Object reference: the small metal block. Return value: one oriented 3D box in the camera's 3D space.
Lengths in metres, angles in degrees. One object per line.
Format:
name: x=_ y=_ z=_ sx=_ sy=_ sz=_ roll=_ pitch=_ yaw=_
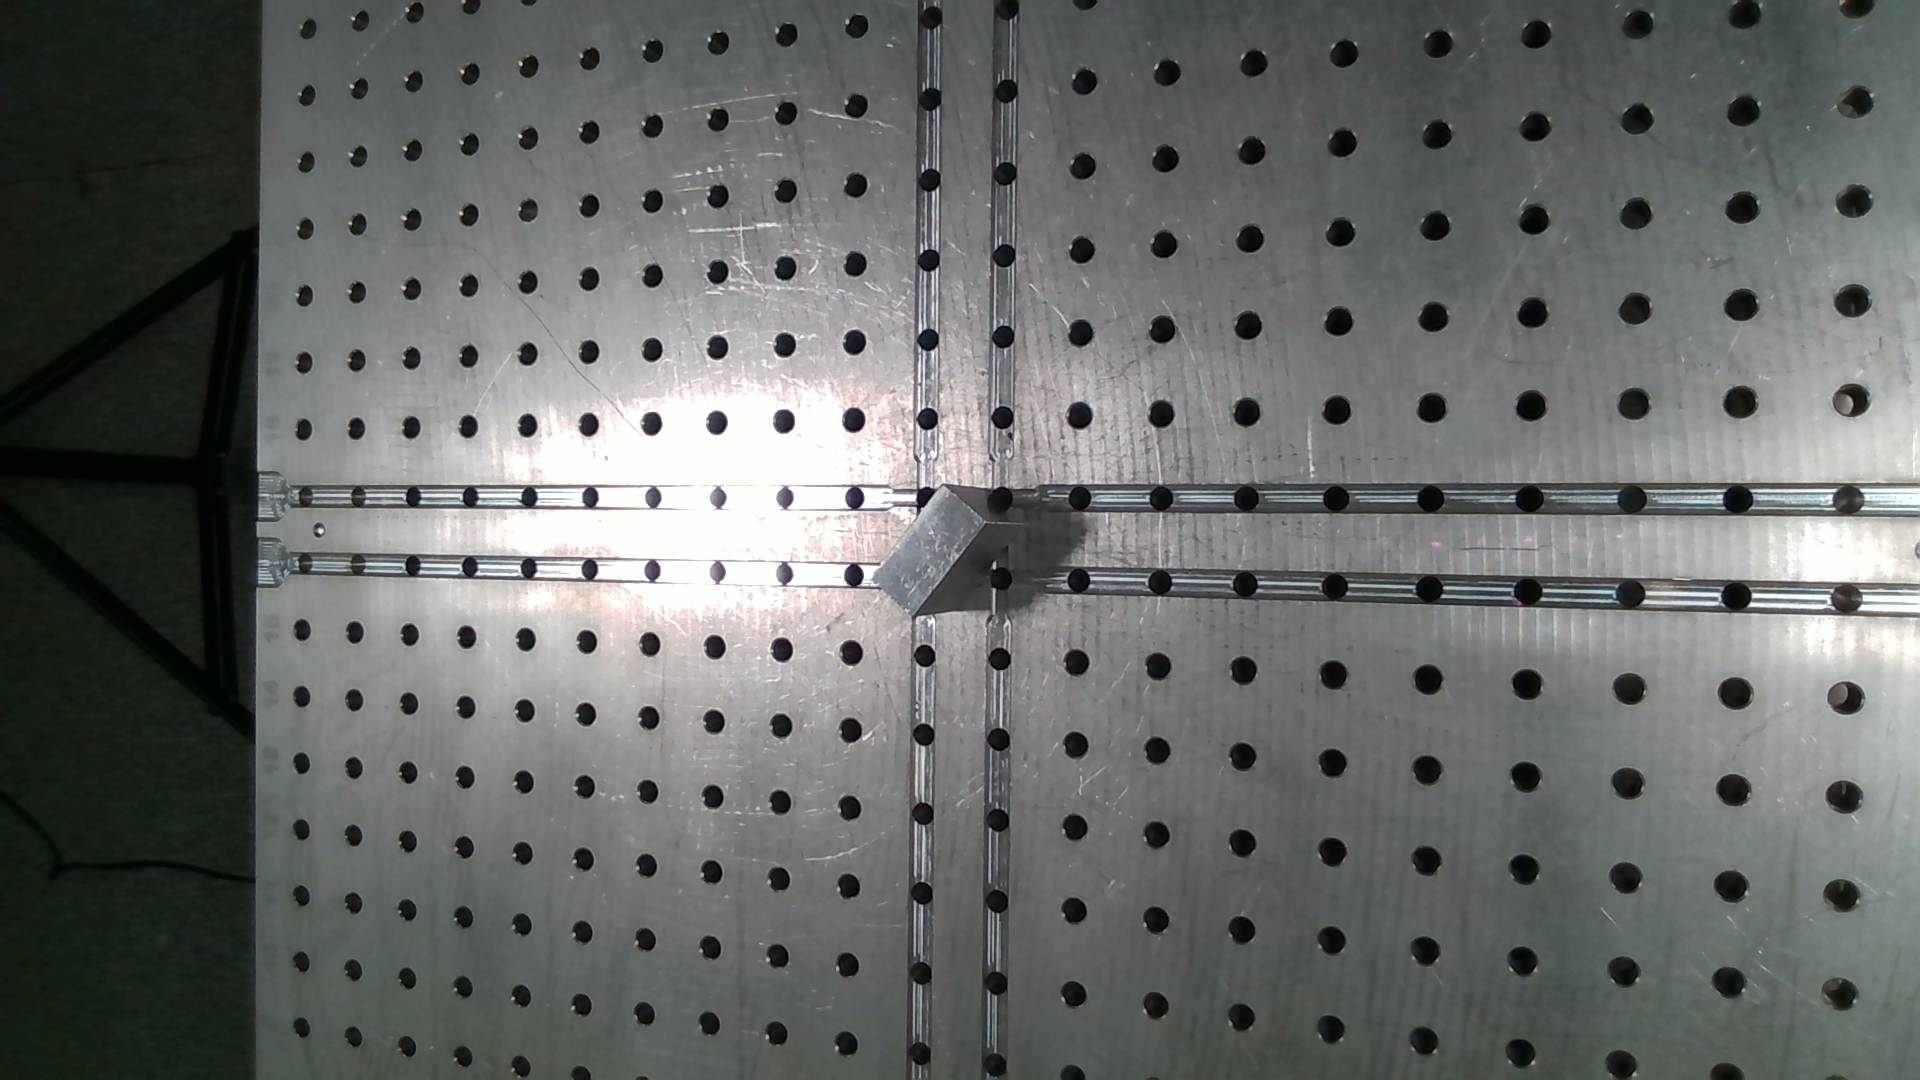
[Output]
small metal block: x=-0.005 y=0.004 z=0.576 sx=0.025 sy=0.050 sz=0.050 roll=42 pitch=104 yaw=15
